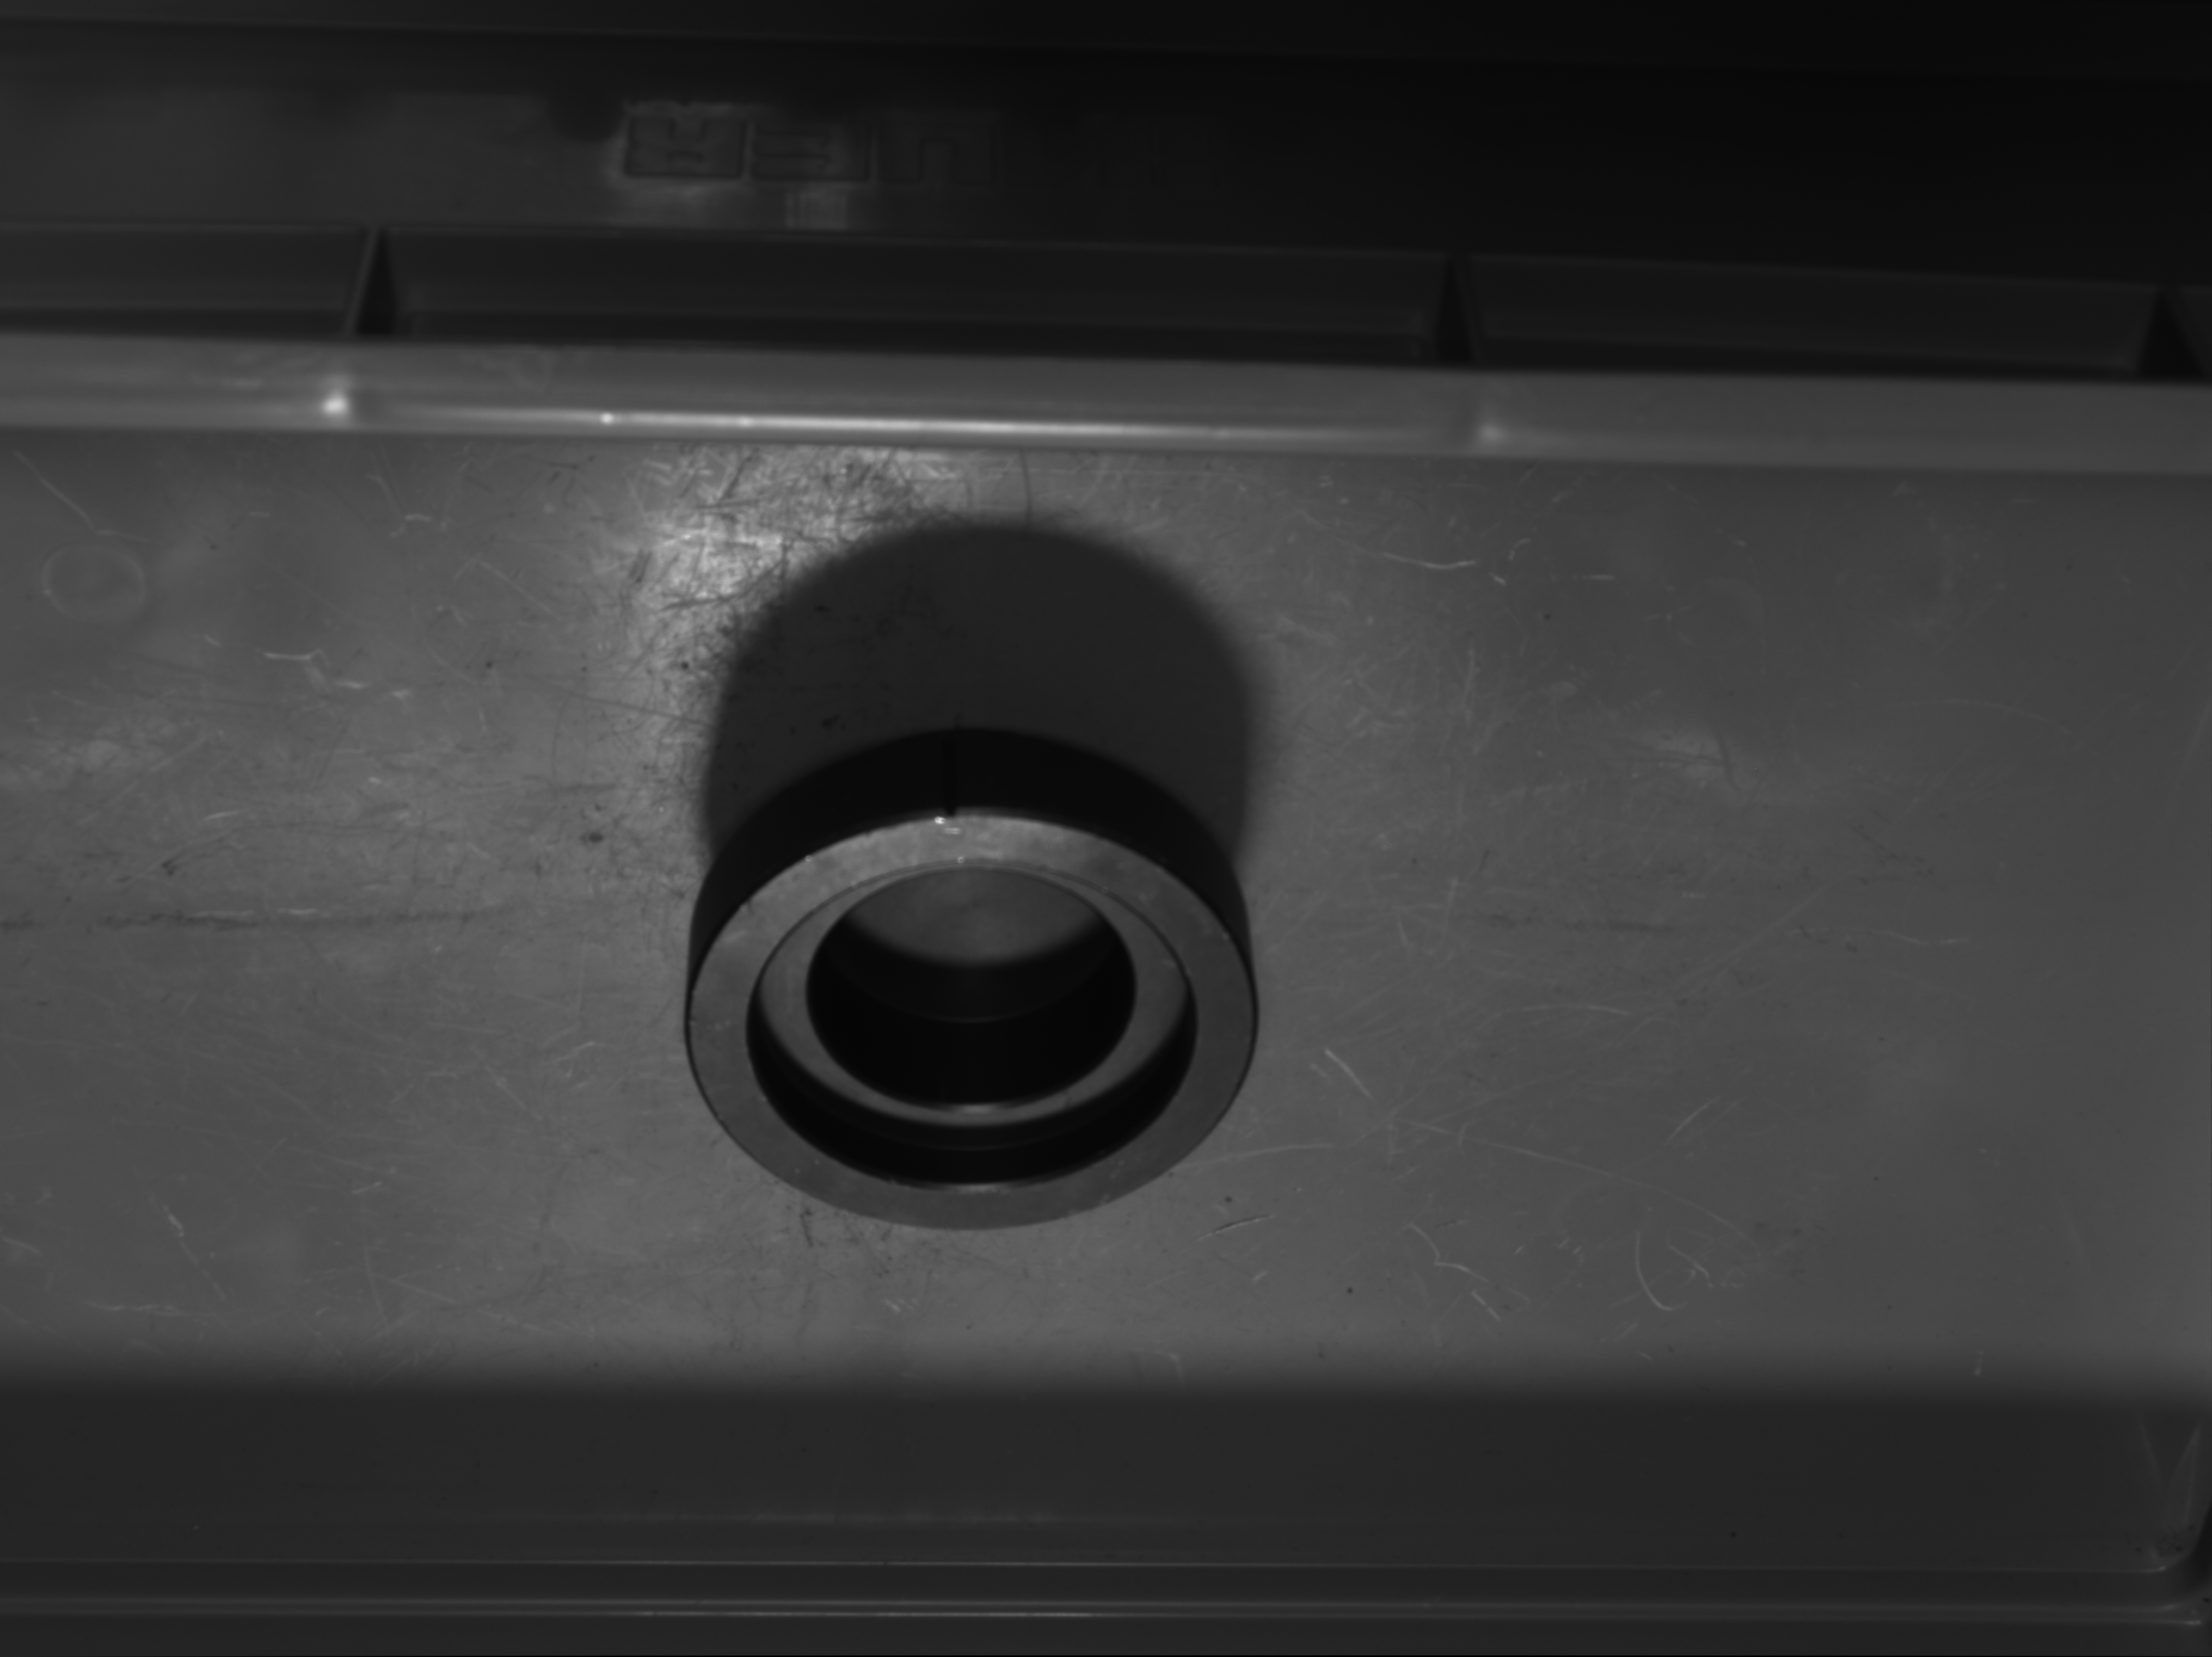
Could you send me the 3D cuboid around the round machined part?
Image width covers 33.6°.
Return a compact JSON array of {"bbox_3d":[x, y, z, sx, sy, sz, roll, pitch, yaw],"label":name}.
[{"bbox_3d":[-0.015,0.022,0.641,0.098,0.042,0.098,-1,130,-1],"label":"round machined part"}]
